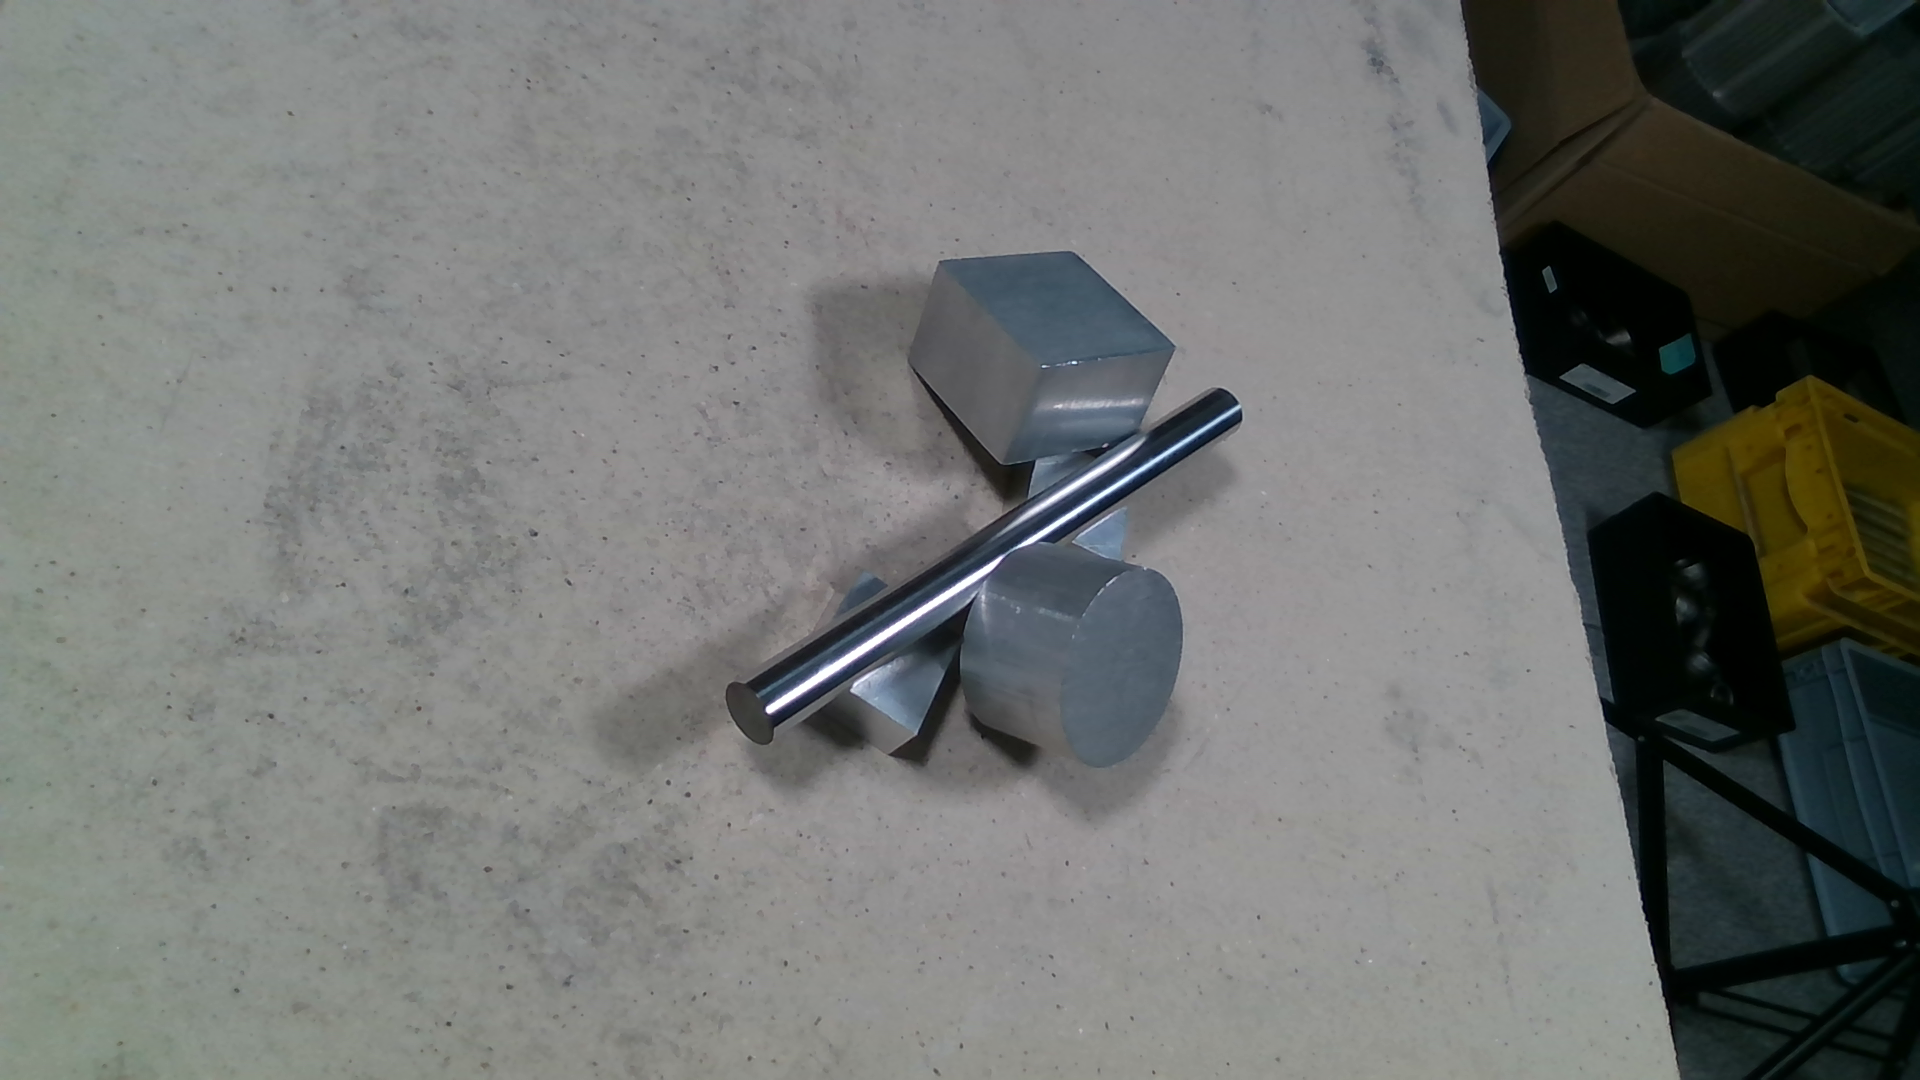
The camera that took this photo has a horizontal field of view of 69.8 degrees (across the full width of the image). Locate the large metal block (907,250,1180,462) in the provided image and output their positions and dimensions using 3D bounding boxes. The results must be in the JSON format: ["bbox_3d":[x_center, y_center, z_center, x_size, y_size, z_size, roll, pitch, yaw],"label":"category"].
[{"bbox_3d":[0.036,-0.085,0.617,0.080,0.050,0.080,-13,49,-35],"label":"large metal block"}]

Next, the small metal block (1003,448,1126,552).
[{"bbox_3d":[0.047,-0.015,0.624,0.050,0.025,0.050,25,55,-18],"label":"small metal block"}]

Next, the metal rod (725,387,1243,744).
[{"bbox_3d":[0.026,-0.001,0.571,0.300,0.025,0.025,-31,84,-39],"label":"metal rod"}]

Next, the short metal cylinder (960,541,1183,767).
[{"bbox_3d":[0.045,0.044,0.548,0.080,0.050,0.080,-19,116,-45],"label":"short metal cylinder"}]

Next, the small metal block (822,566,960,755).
[{"bbox_3d":[-0.034,0.047,0.541,0.050,0.025,0.050,35,52,-11],"label":"small metal block"}]
